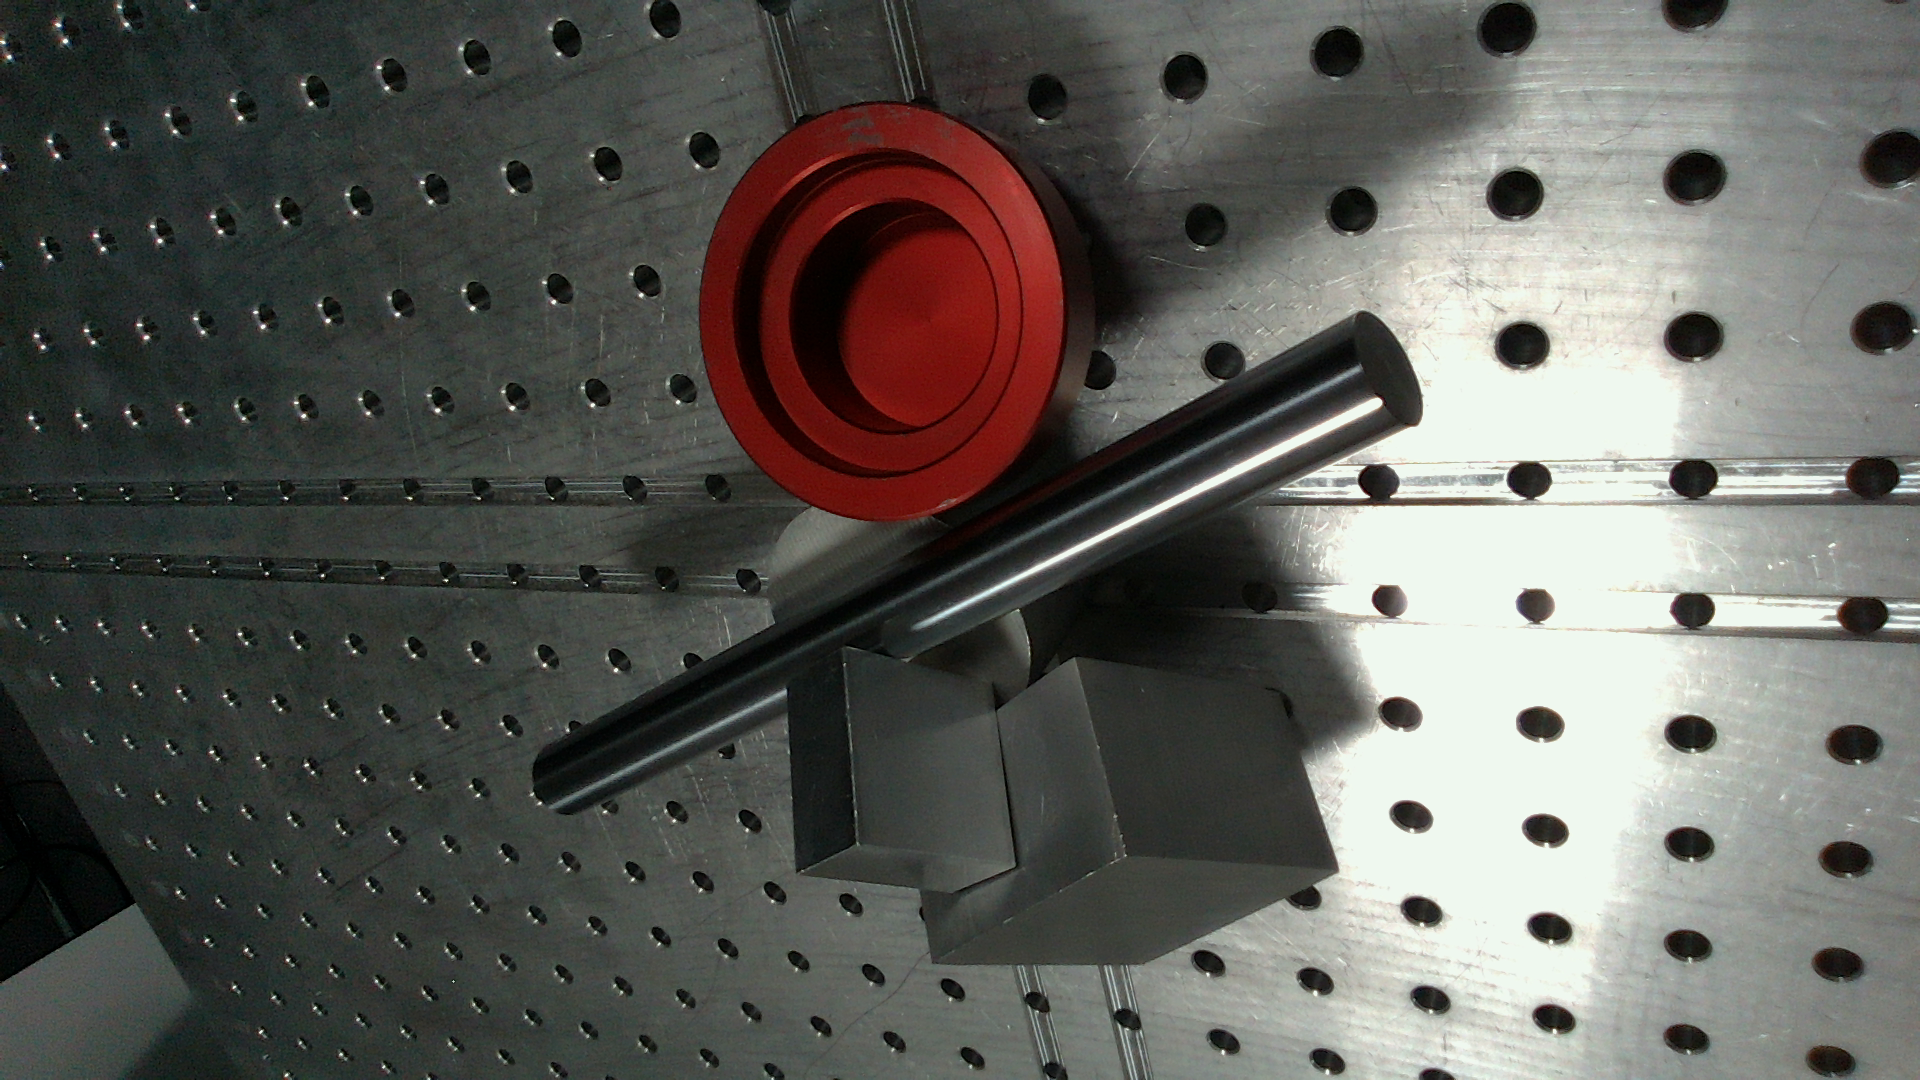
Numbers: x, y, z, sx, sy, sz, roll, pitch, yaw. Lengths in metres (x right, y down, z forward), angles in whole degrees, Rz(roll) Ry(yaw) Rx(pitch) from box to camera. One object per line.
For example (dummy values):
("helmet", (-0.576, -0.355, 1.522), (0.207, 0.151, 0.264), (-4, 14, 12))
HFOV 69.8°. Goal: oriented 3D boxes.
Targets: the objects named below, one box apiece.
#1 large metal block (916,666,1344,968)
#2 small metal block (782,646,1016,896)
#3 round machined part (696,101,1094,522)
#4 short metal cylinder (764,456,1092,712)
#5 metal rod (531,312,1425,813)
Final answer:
("large metal block", (0.042, 0.080, 0.377), (0.080, 0.050, 0.080), (13, 142, -36))
("small metal block", (-0.016, 0.059, 0.346), (0.050, 0.050, 0.025), (19, 142, -38))
("round machined part", (-0.013, -0.055, 0.343), (0.098, 0.042, 0.098), (3, 97, 22))
("short metal cylinder", (-0.008, 0.012, 0.391), (0.080, 0.050, 0.080), (13, 124, 21))
("metal rod", (-0.022, 0.022, 0.356), (0.299, 0.025, 0.025), (-27, 103, 37))
